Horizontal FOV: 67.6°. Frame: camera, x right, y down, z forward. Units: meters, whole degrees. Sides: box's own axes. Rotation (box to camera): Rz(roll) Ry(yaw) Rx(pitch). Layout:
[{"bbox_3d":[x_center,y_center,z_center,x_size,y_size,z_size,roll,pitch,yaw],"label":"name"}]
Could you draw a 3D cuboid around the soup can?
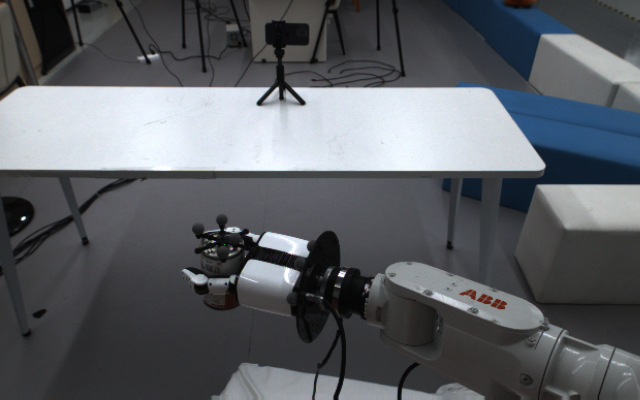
[{"bbox_3d":[-0.145,0.110,0.733,0.067,0.101,0.067,4,31,-2],"label":"soup can"}]
